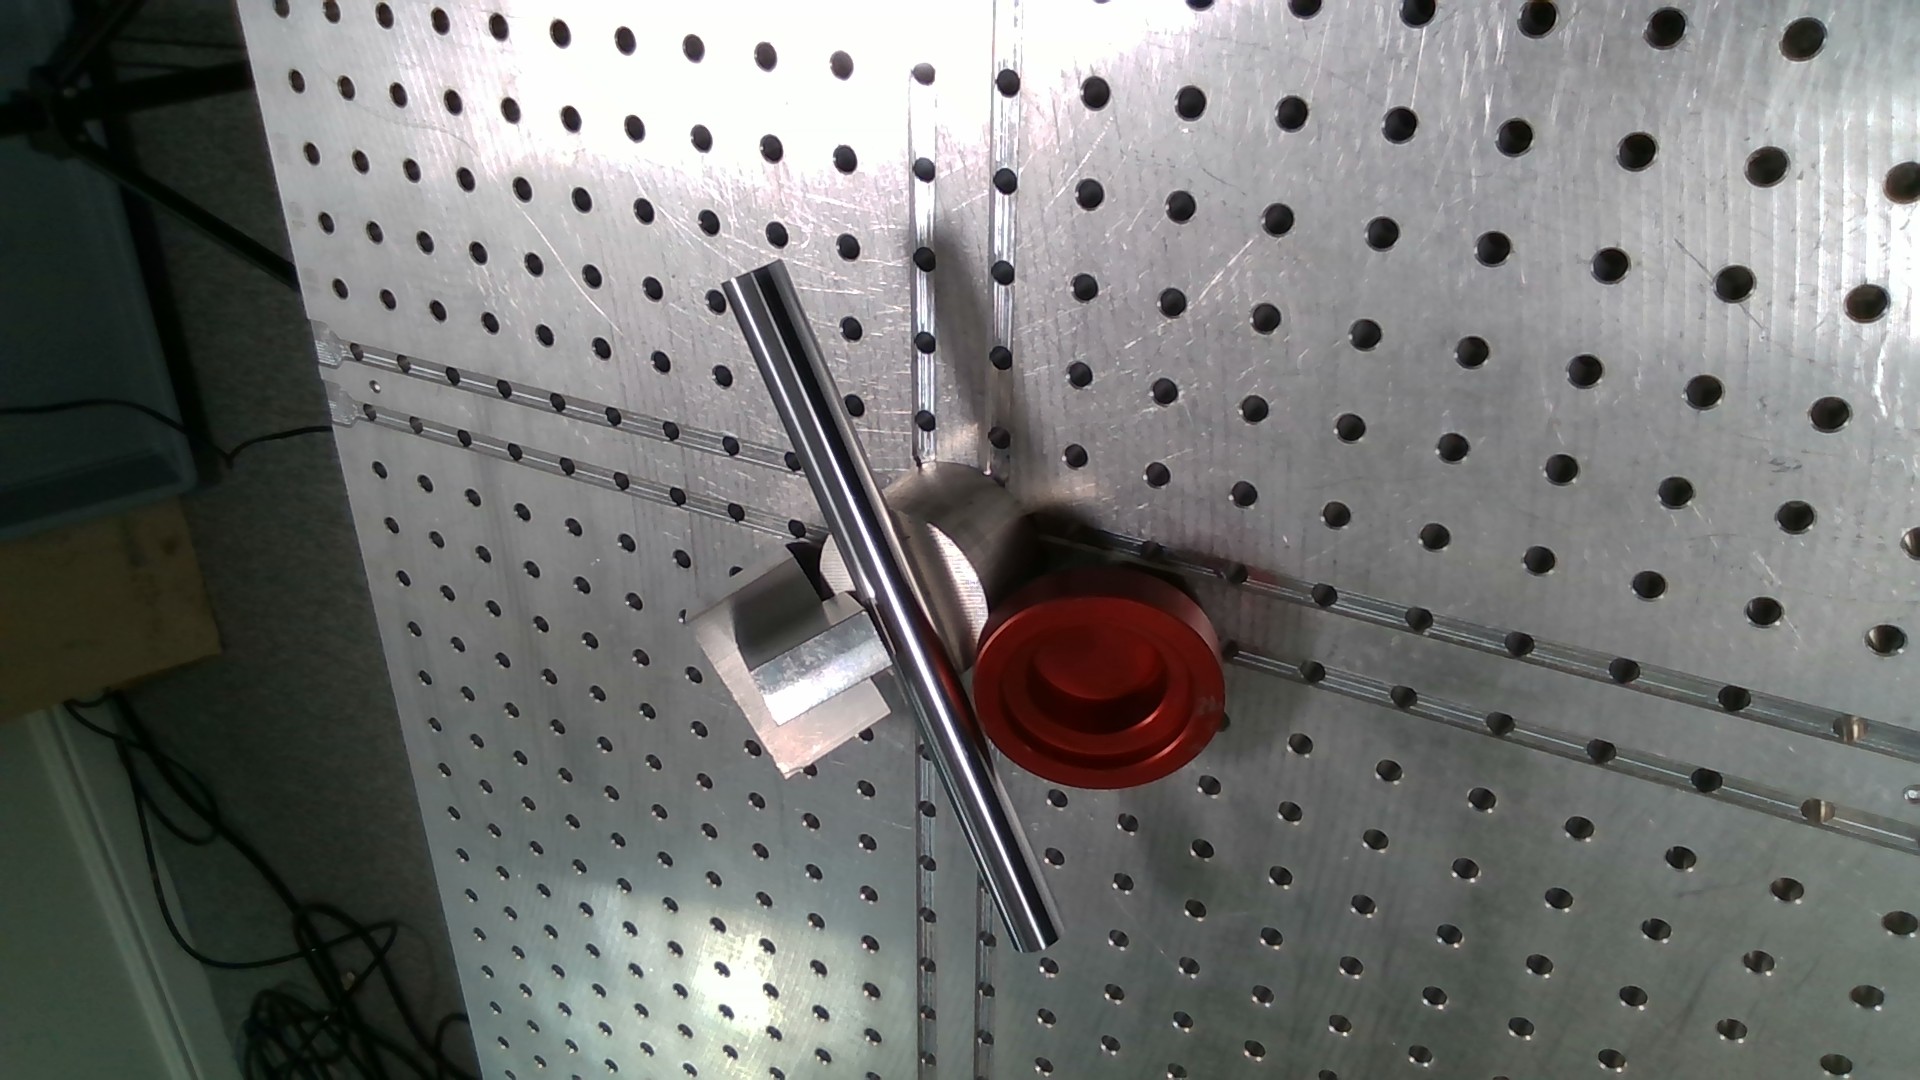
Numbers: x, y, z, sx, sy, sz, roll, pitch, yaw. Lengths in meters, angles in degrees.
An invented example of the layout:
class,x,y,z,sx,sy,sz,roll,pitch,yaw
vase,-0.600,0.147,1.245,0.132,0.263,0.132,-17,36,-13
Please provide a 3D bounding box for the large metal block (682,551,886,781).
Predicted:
class,x,y,z,sx,sy,sz,roll,pitch,yaw
large metal block,-0.080,0.052,0.615,0.080,0.050,0.080,59,173,-8

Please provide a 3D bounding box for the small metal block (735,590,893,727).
class,x,y,z,sx,sy,sz,roll,pitch,yaw
small metal block,-0.059,0.046,0.550,0.025,0.050,0.050,64,170,-12

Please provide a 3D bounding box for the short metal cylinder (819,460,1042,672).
class,x,y,z,sx,sy,sz,roll,pitch,yaw
short metal cylinder,-0.012,0.013,0.581,0.080,0.050,0.080,14,122,25

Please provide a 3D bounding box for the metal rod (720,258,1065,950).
class,x,y,z,sx,sy,sz,roll,pitch,yaw
metal rod,-0.022,0.034,0.550,0.025,0.025,0.300,-11,109,35

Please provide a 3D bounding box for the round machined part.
class,x,y,z,sx,sy,sz,roll,pitch,yaw
round machined part,0.055,0.050,0.550,0.098,0.042,0.098,3,124,5
